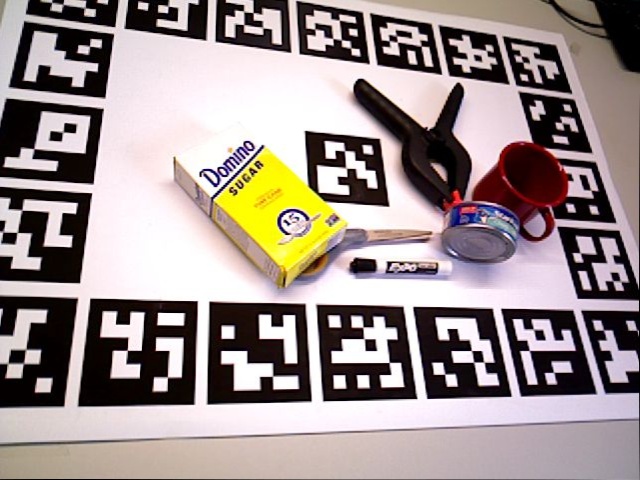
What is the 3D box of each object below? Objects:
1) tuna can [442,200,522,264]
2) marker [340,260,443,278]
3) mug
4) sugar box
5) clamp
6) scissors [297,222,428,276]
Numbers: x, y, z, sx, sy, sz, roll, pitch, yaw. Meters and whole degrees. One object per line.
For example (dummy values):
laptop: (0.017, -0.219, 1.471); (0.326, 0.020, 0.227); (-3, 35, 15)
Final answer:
tuna can: (0.185, -0.007, 0.622); (0.085, 0.087, 0.033); (19, 60, -7)
marker: (0.081, 0.032, 0.611); (0.119, 0.020, 0.019); (0, 66, -16)
mug: (0.236, -0.050, 0.663); (0.091, 0.083, 0.117); (-24, 71, -26)
sugar box: (-0.064, -0.042, 0.582); (0.091, 0.046, 0.176); (-35, 73, -28)
clamp: (0.135, -0.124, 0.702); (0.163, 0.037, 0.201); (-7, 69, -20)
scissors: (0.035, -0.009, 0.614); (0.200, 0.016, 0.087); (-7, 64, -21)
